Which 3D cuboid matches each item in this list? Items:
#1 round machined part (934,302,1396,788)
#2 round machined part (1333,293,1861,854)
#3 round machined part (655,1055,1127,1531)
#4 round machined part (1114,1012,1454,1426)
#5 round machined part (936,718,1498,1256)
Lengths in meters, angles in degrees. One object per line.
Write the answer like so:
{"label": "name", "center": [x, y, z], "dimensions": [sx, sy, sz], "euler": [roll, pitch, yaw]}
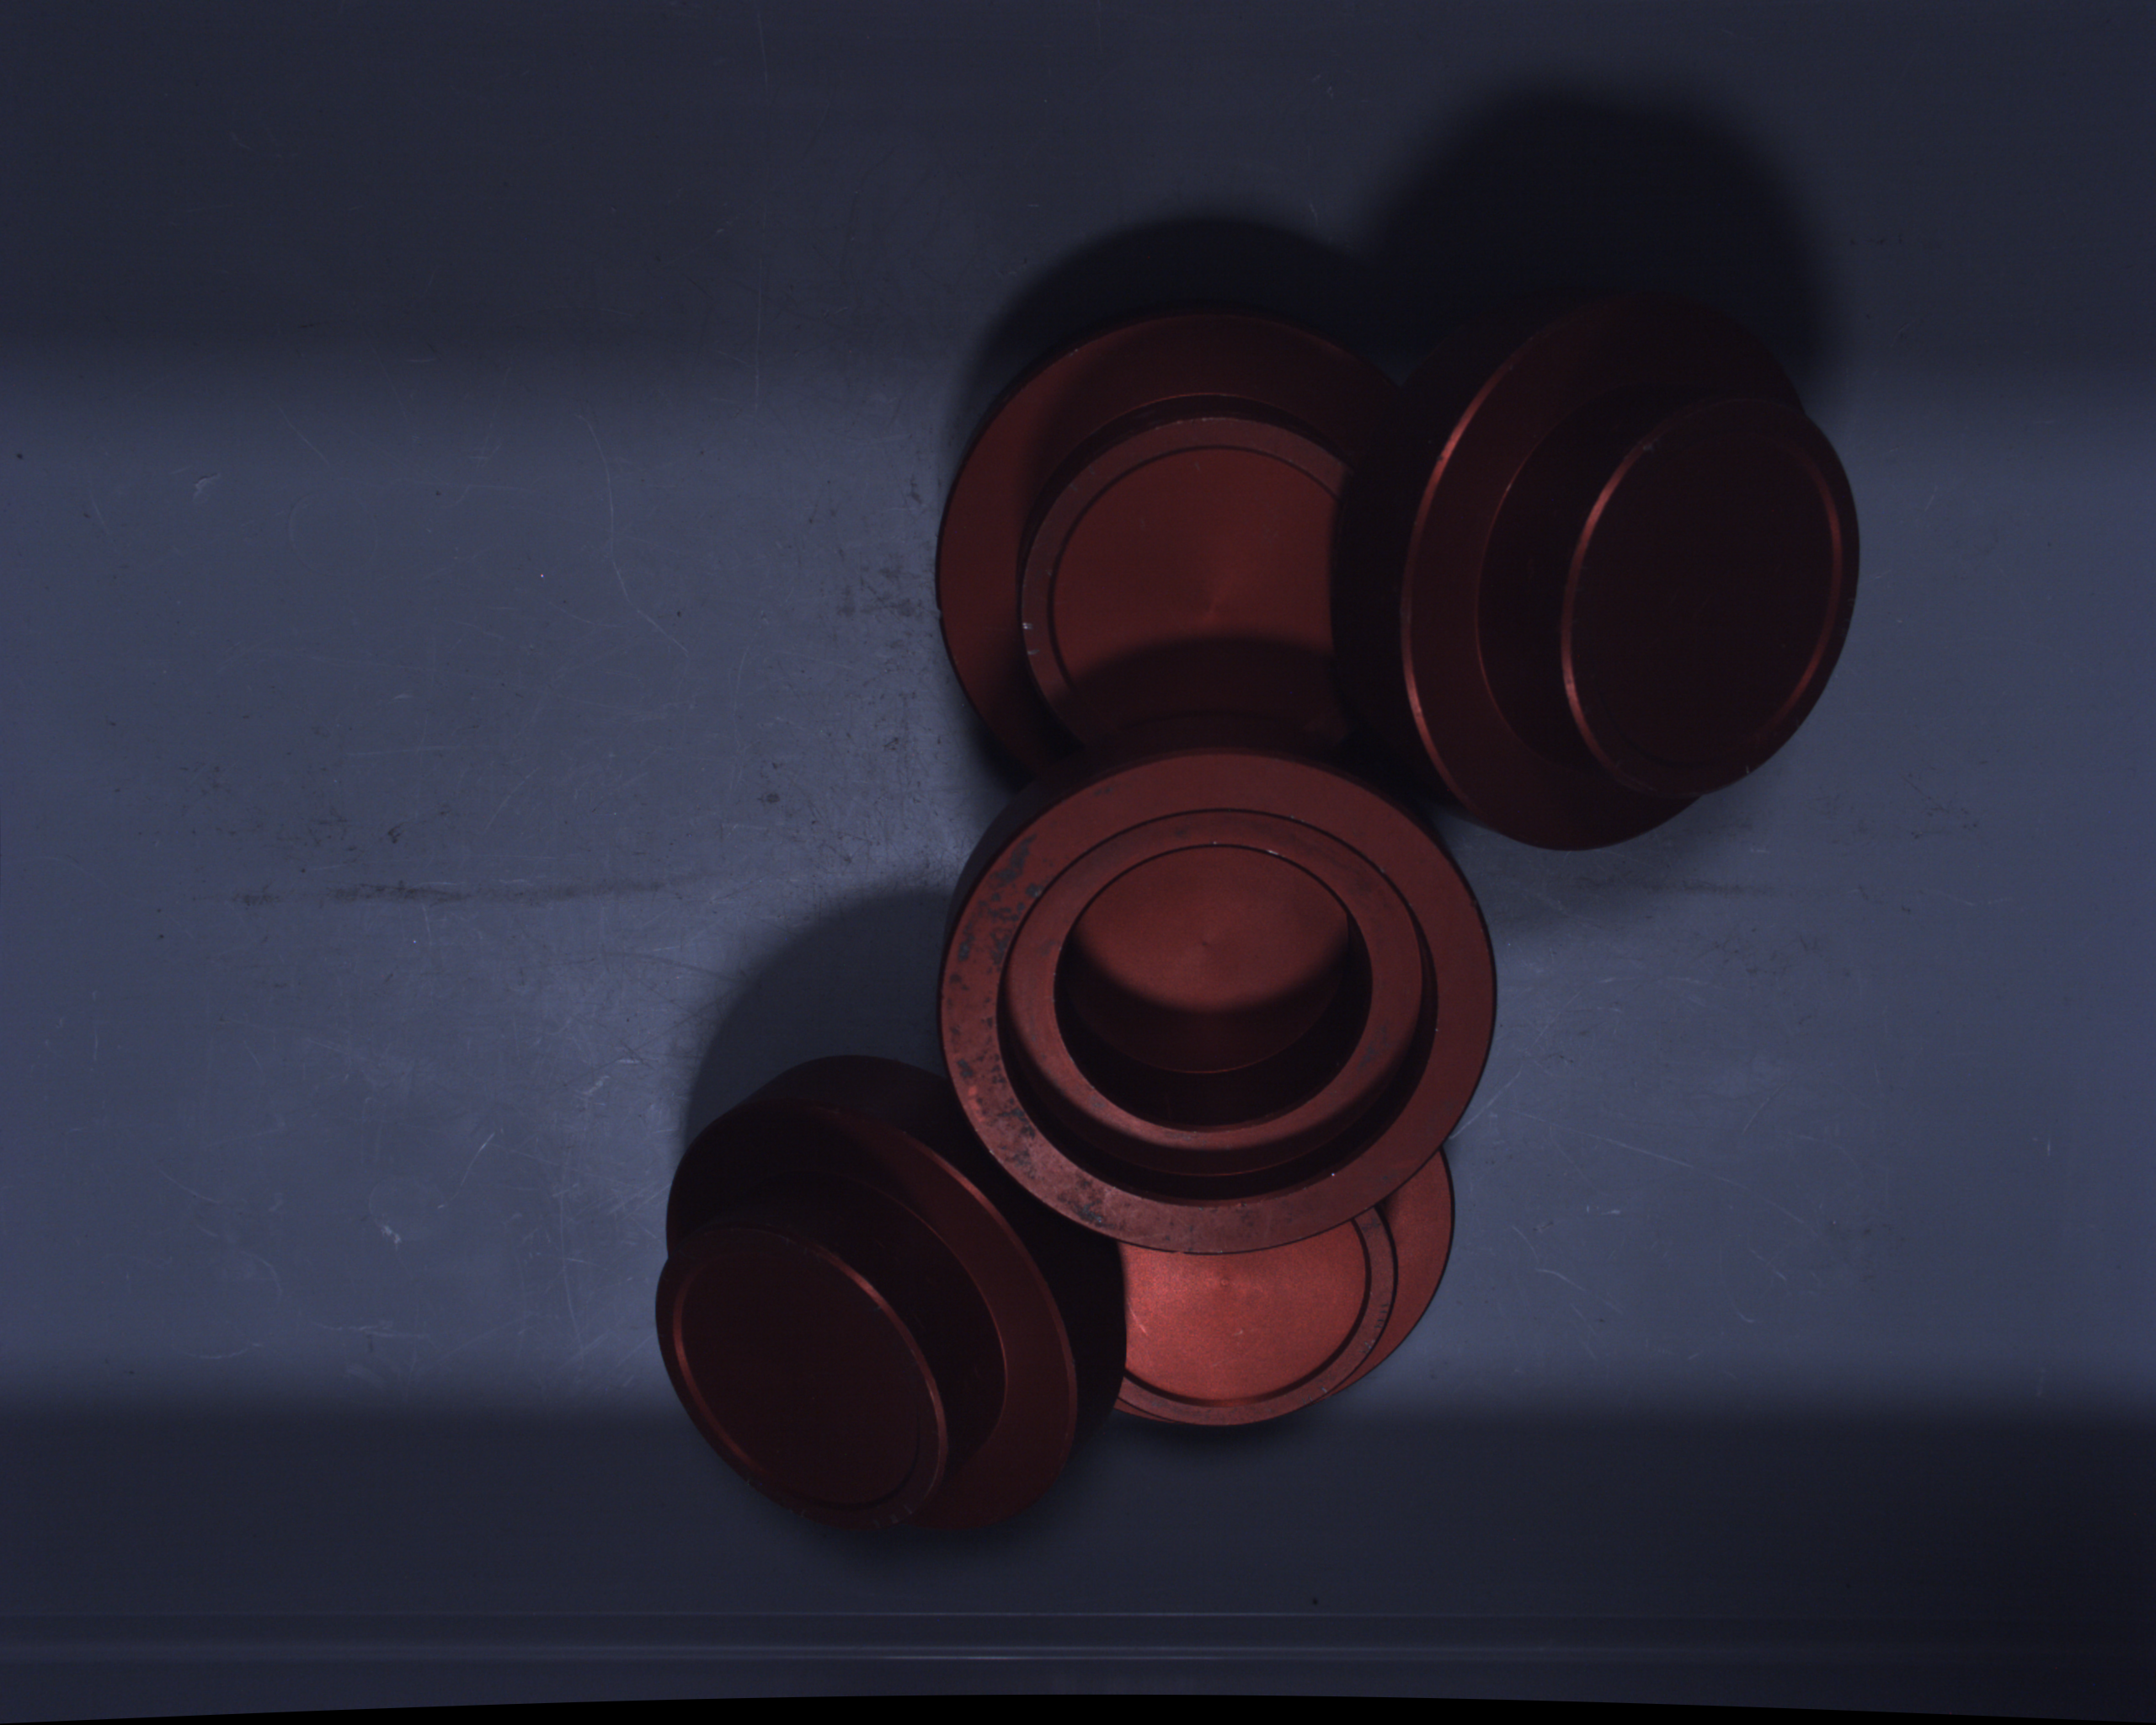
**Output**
{"label": "round machined part", "center": [0.023, -0.051, 0.382], "dimensions": [0.099, 0.042, 0.097], "euler": [0, 110, -1]}
{"label": "round machined part", "center": [0.096, -0.048, 0.361], "dimensions": [0.099, 0.042, 0.097], "euler": [-10, 110, -29]}
{"label": "round machined part", "center": [-0.043, 0.091, 0.411], "dimensions": [0.098, 0.042, 0.097], "euler": [13, 117, 26]}
{"label": "round machined part", "center": [0.028, 0.075, 0.429], "dimensions": [0.099, 0.042, 0.097], "euler": [0, 110, -1]}
{"label": "round machined part", "center": [0.024, 0.020, 0.385], "dimensions": [0.099, 0.042, 0.097], "euler": [0, 110, -1]}
